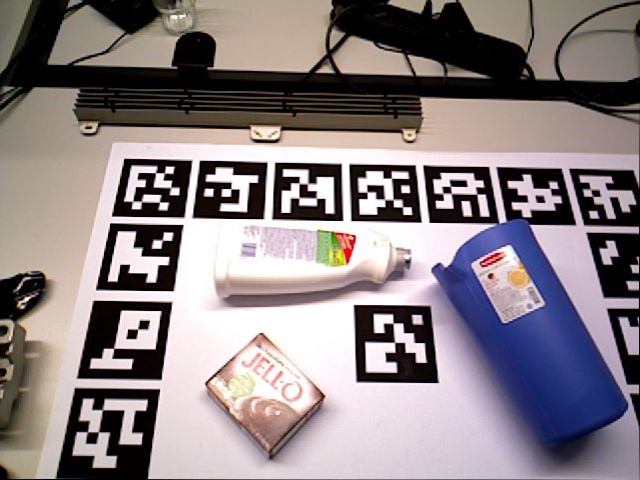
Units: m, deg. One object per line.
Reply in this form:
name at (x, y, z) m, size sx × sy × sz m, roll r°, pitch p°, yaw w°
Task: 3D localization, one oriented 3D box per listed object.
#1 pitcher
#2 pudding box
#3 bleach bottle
pitcher at (0.262, 0.121, 0.636) m, size 0.185 × 0.136 × 0.241 m, roll -5°, pitch 62°, yaw -45°
pudding box at (-0.057, 0.185, 0.617) m, size 0.088 × 0.039 × 0.113 m, roll -39°, pitch 72°, yaw -26°
bleach bottle at (0.001, 0.030, 0.692) m, size 0.249 × 0.069 × 0.101 m, roll -1°, pitch 66°, yaw -5°
